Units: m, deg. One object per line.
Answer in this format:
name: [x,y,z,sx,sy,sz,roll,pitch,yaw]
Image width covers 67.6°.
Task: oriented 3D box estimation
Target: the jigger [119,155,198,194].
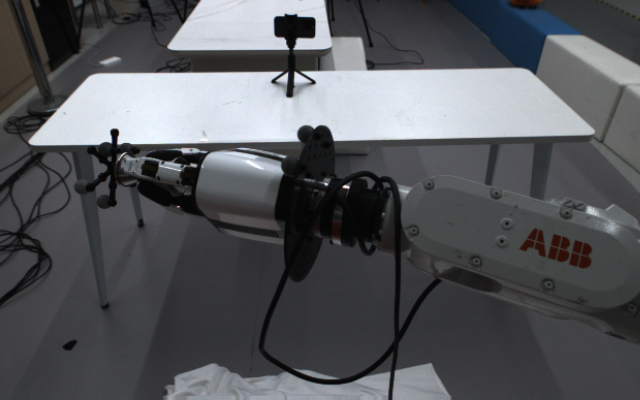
jigger: [-0.179,-0.033,0.535,0.071,0.043,0.043,7,35,15]
